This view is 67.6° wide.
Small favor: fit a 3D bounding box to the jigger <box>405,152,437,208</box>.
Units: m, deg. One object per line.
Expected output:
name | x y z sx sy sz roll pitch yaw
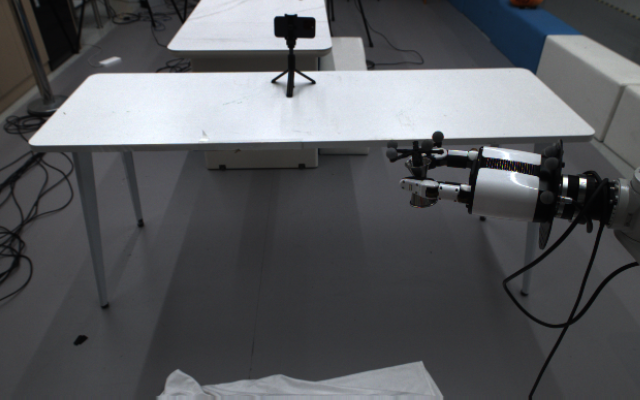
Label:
jigger | 0.156 -0.028 0.751 0.043 0.071 0.043 -12 24 5
